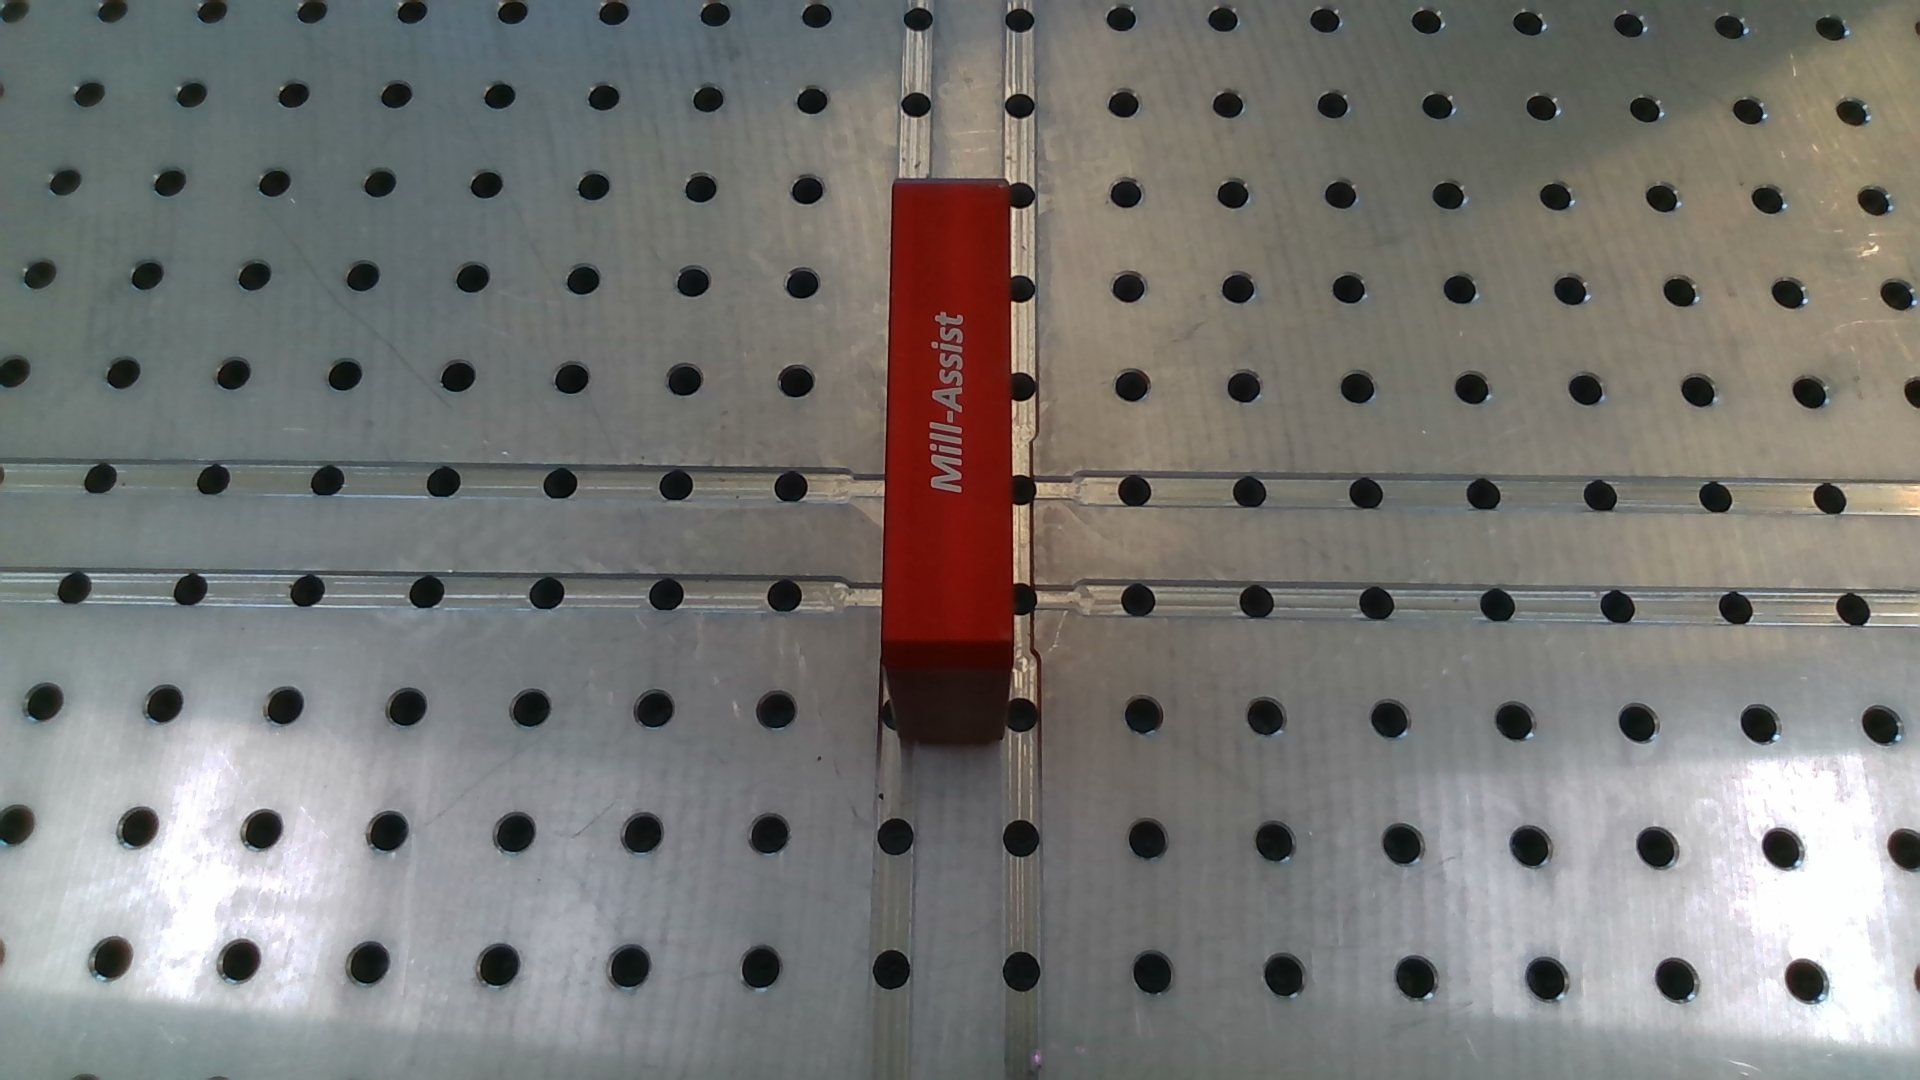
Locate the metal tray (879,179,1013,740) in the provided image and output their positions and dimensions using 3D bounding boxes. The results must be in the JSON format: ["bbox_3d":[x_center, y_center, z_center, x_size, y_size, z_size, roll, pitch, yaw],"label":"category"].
[{"bbox_3d":[-0.003,-0.018,0.370,0.030,0.090,0.130,0,70,0],"label":"metal tray"}]
